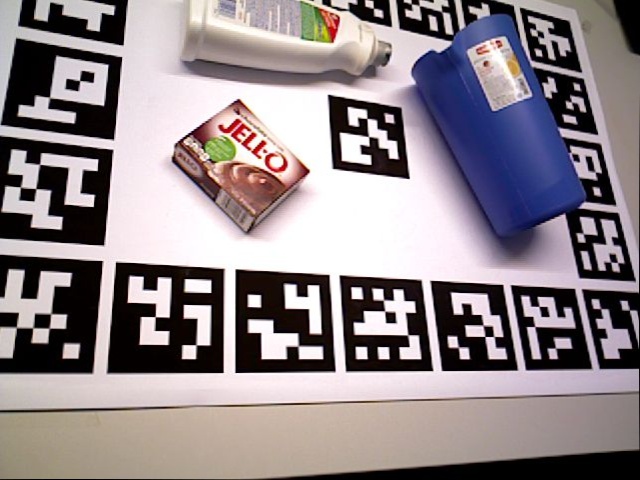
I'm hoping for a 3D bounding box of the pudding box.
[{"bbox_3d":[-0.076,-0.072,0.554,0.114,0.039,0.088,48,56,-2],"label":"pudding box"}]

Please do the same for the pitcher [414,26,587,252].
[{"bbox_3d":[0.225,-0.115,0.661,0.185,0.135,0.243,-14,80,-61],"label":"pitcher"}]

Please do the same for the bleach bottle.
[{"bbox_3d":[-0.026,-0.233,0.622,0.247,0.069,0.102,3,75,-23],"label":"bleach bottle"}]
